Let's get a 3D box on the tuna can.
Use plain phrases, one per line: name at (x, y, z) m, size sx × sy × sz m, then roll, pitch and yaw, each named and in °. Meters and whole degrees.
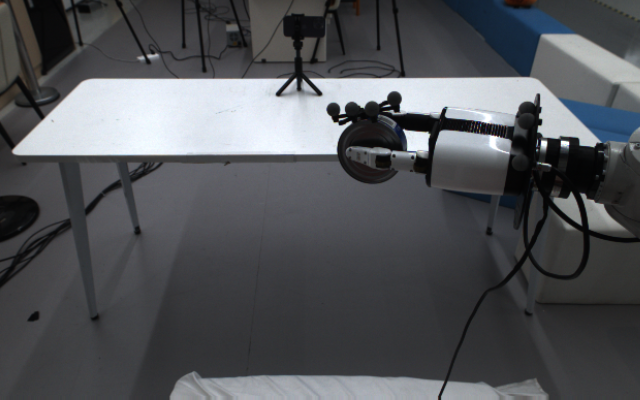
tuna can at (0.069, -0.067, 0.623) m, size 0.085 × 0.085 × 0.034 m, roll 13°, pitch 29°, yaw 15°
